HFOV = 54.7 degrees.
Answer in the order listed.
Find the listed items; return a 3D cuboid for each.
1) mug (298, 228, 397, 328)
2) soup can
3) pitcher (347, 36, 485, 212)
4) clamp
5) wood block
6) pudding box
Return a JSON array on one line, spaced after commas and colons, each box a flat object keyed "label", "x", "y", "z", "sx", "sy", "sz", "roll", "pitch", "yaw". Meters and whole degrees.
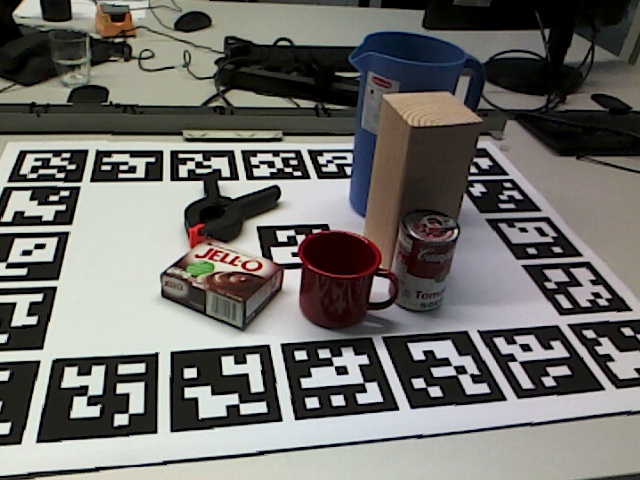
[{"label": "mug", "x": 0.030, "y": 0.048, "z": 0.693, "sx": 0.118, "sy": 0.081, "sz": 0.093, "roll": 18, "pitch": 33, "yaw": 19}, {"label": "soup can", "x": 0.118, "y": 0.024, "z": 0.720, "sx": 0.068, "sy": 0.102, "sz": 0.068, "roll": 4, "pitch": 36, "yaw": -3}, {"label": "pitcher", "x": 0.126, "y": -0.152, "z": 0.862, "sx": 0.188, "sy": 0.242, "sz": 0.134, "roll": -5, "pitch": 33, "yaw": -10}, {"label": "clamp", "x": -0.129, "y": -0.041, "z": 0.856, "sx": 0.122, "sy": 0.036, "sz": 0.165, "roll": 20, "pitch": 36, "yaw": 9}, {"label": "wood block", "x": 0.123, "y": -0.070, "z": 0.767, "sx": 0.089, "sy": 0.206, "sz": 0.091, "roll": -1, "pitch": 34, "yaw": -16}, {"label": "pudding box", "x": -0.120, "y": 0.046, "z": 0.719, "sx": 0.114, "sy": 0.038, "sz": 0.090, "roll": 19, "pitch": 39, "yaw": 21}]
